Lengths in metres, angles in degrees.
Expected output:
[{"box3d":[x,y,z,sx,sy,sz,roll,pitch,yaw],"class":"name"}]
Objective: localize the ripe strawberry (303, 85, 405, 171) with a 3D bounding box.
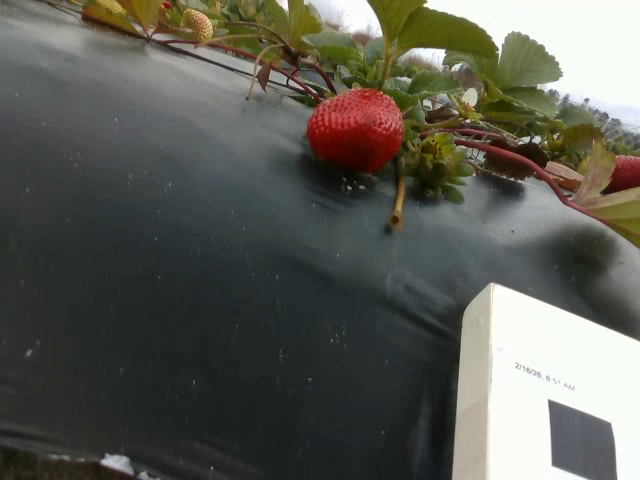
[{"box3d":[0.005,-0.015,0.077,0.018,0.014,0.017,32,4,-8],"class":"ripe strawberry"}]
